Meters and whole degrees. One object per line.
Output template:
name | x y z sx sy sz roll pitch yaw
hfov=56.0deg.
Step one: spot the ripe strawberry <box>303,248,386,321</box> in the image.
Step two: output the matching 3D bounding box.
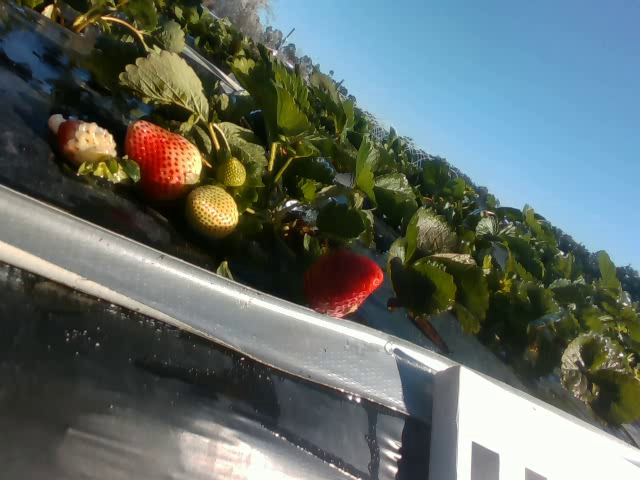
ripe strawberry | 0.011 0.018 0.260 0.036 0.038 0.045 28 -23 -24
